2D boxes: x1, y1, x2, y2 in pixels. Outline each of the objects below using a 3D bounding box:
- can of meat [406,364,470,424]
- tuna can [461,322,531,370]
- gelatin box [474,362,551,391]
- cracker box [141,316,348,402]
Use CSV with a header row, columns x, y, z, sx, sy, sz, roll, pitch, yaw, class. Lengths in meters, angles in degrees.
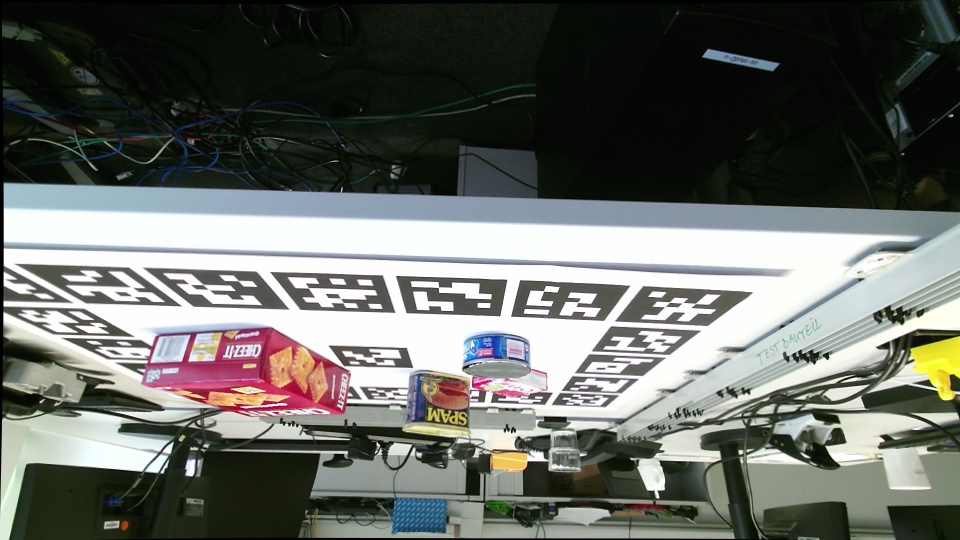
x,y,z,sx,sy,sz,roll,pitch,yaw,class
-0.066,0.189,0.825,0.102,0.083,0.058,16,151,-28,can of meat
0.019,0.095,0.663,0.086,0.033,0.086,0,150,0,tuna can
0.049,0.155,0.794,0.090,0.030,0.073,27,147,-36,gelatin box
-0.306,0.130,0.728,0.165,0.071,0.214,-4,155,15,cracker box
